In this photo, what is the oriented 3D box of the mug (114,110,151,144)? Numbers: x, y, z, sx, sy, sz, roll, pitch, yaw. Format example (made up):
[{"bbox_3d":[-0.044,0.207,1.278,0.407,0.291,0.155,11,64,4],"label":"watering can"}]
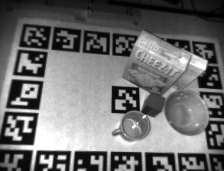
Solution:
[{"bbox_3d":[0.064,0.137,0.681,0.118,0.081,0.092,-6,61,-9],"label":"mug"}]

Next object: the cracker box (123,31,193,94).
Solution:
[{"bbox_3d":[0.138,-0.063,0.704,0.164,0.213,0.072,30,65,4],"label":"cracker box"}]

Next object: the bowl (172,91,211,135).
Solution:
[{"bbox_3d":[0.267,0.092,0.738,0.162,0.055,0.161,3,69,-8],"label":"bowl"}]

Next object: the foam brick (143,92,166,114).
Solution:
[{"bbox_3d":[0.145,0.059,0.735,0.053,0.078,0.051,17,66,0],"label":"foam brick"}]

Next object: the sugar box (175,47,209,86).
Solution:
[{"bbox_3d":[0.246,-0.063,0.740,0.093,0.176,0.045,22,67,2],"label":"sugar box"}]
